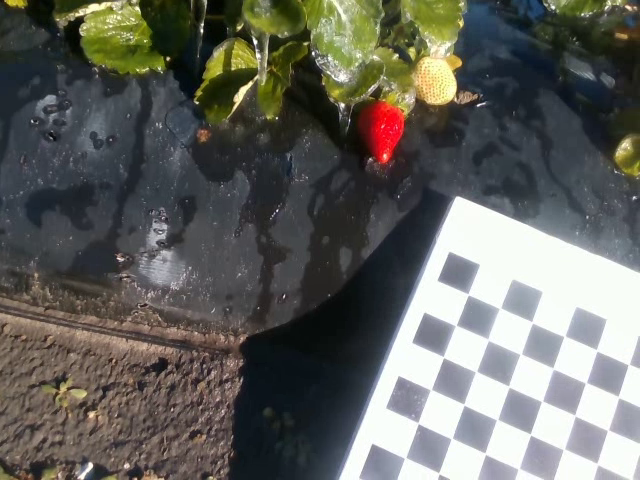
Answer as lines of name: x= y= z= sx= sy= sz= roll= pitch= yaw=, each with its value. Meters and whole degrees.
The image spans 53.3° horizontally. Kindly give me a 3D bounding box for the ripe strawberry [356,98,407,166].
ripe strawberry: x=0.048 y=-0.083 z=0.470 sx=0.041 sy=0.052 sz=0.040 roll=8 pitch=-22 yaw=-2
